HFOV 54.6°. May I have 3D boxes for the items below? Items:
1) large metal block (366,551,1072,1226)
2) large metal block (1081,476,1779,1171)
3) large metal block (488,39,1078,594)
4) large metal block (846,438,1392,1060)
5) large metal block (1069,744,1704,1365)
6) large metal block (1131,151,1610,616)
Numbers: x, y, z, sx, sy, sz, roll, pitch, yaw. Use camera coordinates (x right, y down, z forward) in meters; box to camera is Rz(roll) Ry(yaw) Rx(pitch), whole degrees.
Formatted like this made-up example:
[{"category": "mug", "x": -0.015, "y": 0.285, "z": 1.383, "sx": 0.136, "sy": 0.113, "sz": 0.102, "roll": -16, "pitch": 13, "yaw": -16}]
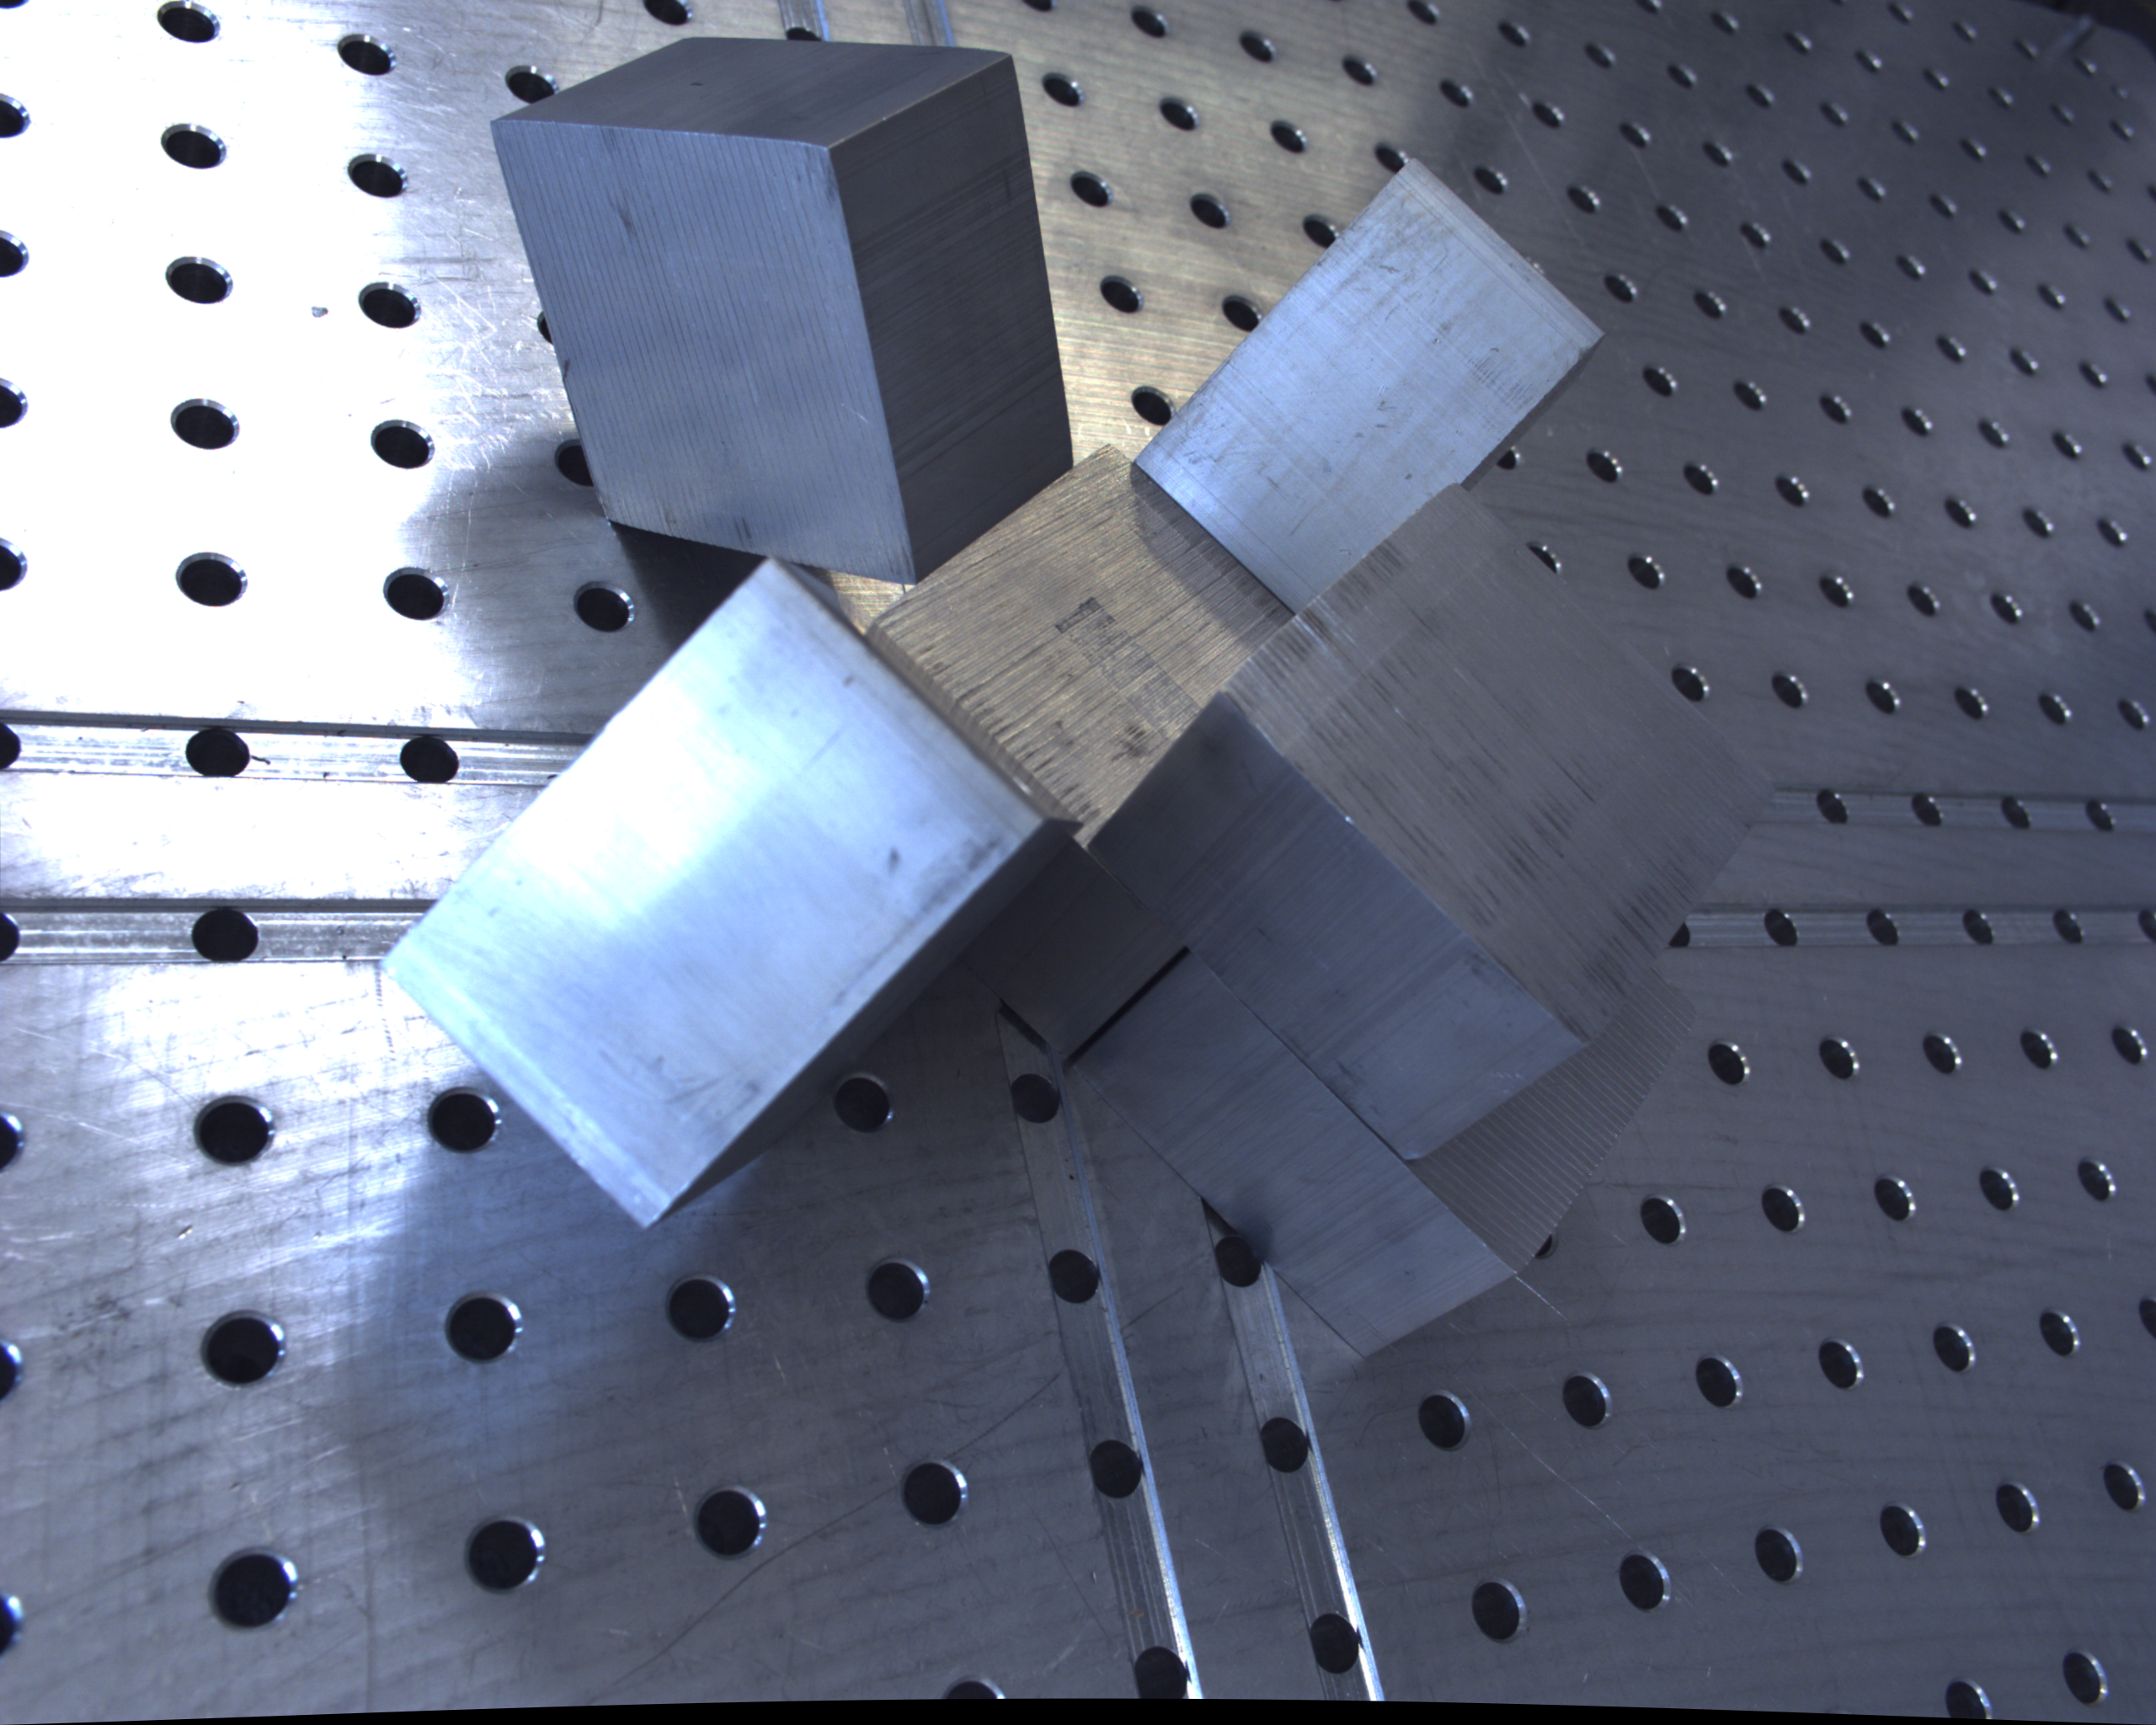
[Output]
[{"category": "large metal block", "x": -0.049, "y": 0.003, "z": 0.324, "sx": 0.050, "sy": 0.080, "sz": 0.080, "roll": 44, "pitch": 93, "yaw": 3}, {"category": "large metal block", "x": 0.062, "y": -0.008, "z": 0.364, "sx": 0.080, "sy": 0.050, "sz": 0.080, "roll": 45, "pitch": 50, "yaw": 2}, {"category": "large metal block", "x": -0.052, "y": -0.103, "z": 0.388, "sx": 0.080, "sy": 0.080, "sz": 0.050, "roll": 17, "pitch": 43, "yaw": 31}, {"category": "large metal block", "x": 0.002, "y": -0.023, "z": 0.407, "sx": 0.080, "sy": 0.050, "sz": 0.080, "roll": 44, "pitch": 51, "yaw": 2}, {"category": "large metal block", "x": 0.060, "y": 0.034, "z": 0.402, "sx": 0.080, "sy": 0.050, "sz": 0.080, "roll": 44, "pitch": 50, "yaw": 4}, {"category": "large metal block", "x": 0.062, "y": -0.095, "z": 0.443, "sx": 0.050, "sy": 0.080, "sz": 0.080, "roll": 44, "pitch": 11, "yaw": 2}]
